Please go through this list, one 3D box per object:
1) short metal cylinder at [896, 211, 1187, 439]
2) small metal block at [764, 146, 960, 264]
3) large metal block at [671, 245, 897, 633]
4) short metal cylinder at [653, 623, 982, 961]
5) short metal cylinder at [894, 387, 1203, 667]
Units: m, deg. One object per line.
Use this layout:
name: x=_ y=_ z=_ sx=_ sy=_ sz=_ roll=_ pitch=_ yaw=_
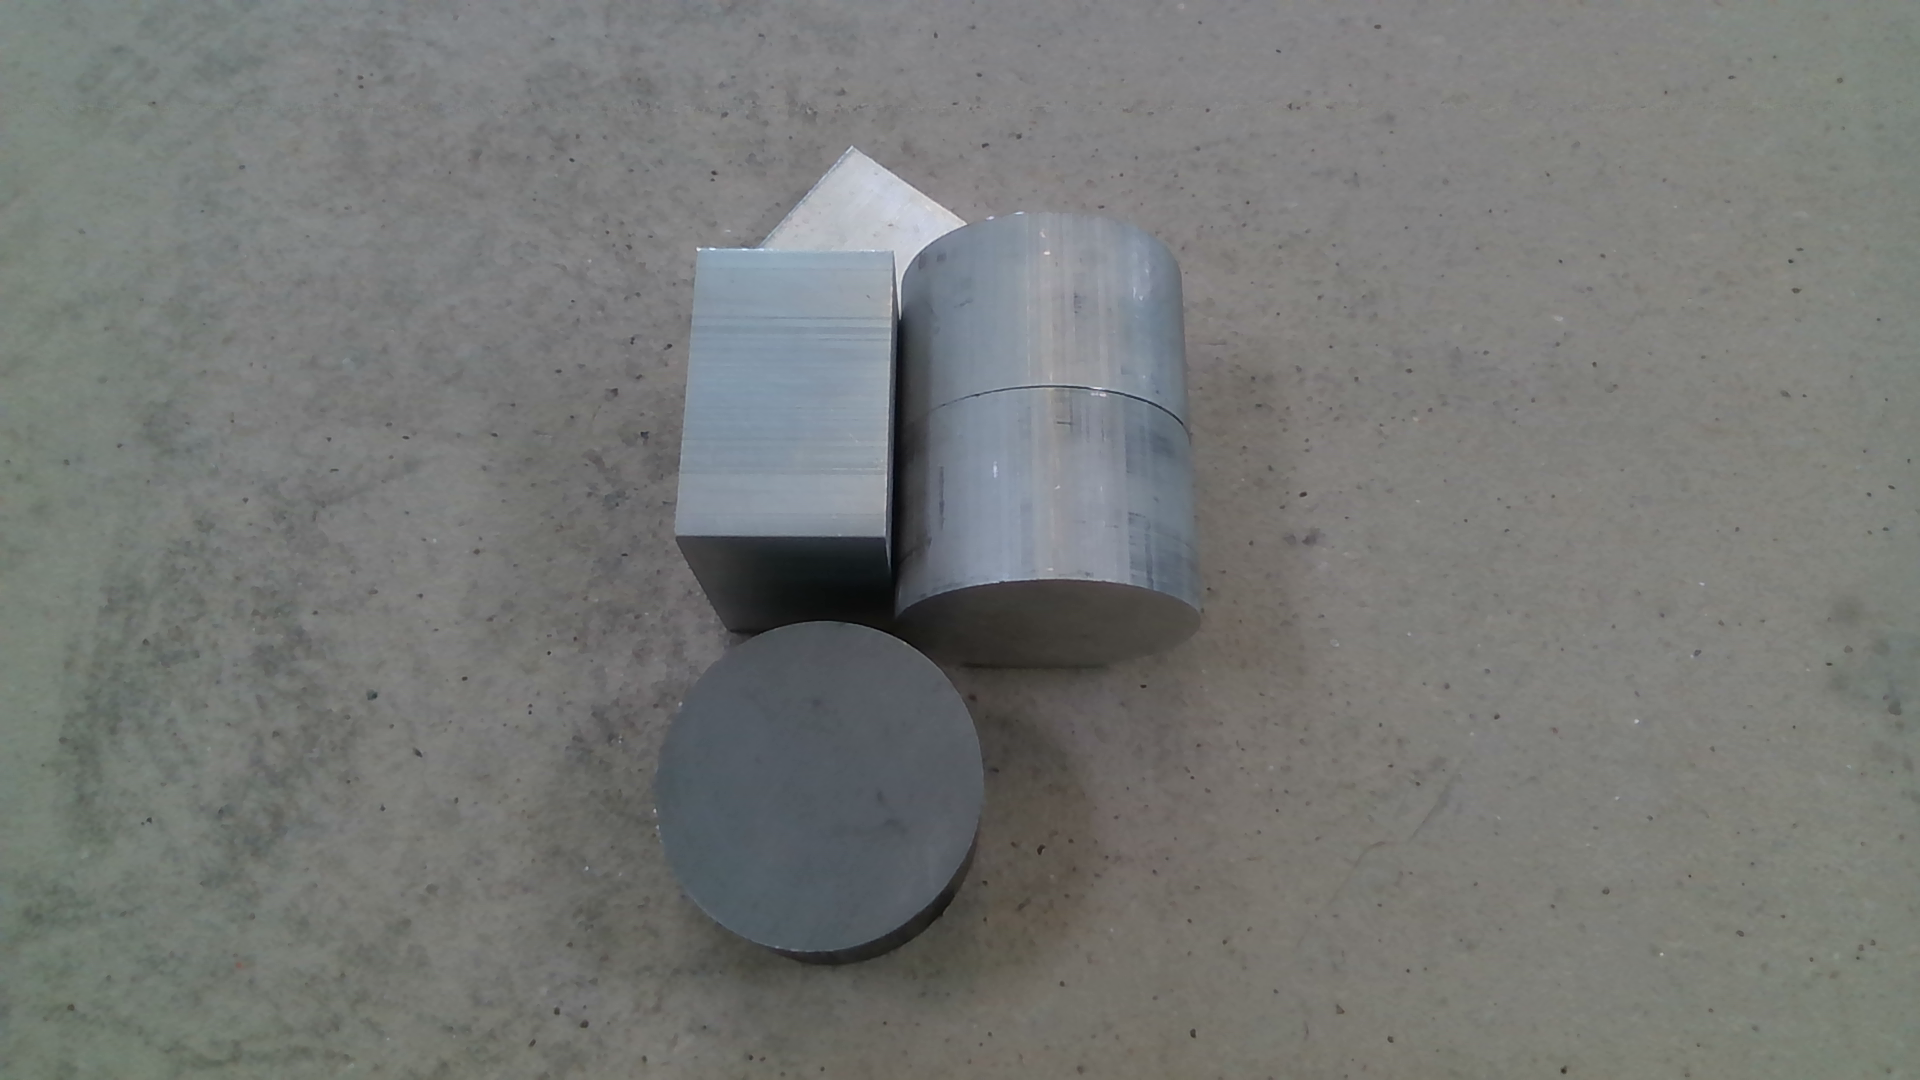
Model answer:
short metal cylinder: x=0.022 y=-0.048 z=0.384 sx=0.080 sy=0.080 sz=0.050 roll=1 pitch=70 yaw=0
small metal block: x=-0.029 y=-0.085 z=0.427 sx=0.050 sy=0.025 sz=0.050 roll=36 pitch=74 yaw=12
large metal block: x=-0.043 y=-0.024 z=0.376 sx=0.050 sy=0.080 sz=0.080 roll=1 pitch=70 yaw=0
short metal cylinder: x=-0.035 y=0.067 z=0.358 sx=0.080 sy=0.050 sz=0.080 roll=0 pitch=70 yaw=0
short metal cylinder: x=0.023 y=-0.001 z=0.367 sx=0.080 sy=0.080 sz=0.050 roll=1 pitch=70 yaw=0
